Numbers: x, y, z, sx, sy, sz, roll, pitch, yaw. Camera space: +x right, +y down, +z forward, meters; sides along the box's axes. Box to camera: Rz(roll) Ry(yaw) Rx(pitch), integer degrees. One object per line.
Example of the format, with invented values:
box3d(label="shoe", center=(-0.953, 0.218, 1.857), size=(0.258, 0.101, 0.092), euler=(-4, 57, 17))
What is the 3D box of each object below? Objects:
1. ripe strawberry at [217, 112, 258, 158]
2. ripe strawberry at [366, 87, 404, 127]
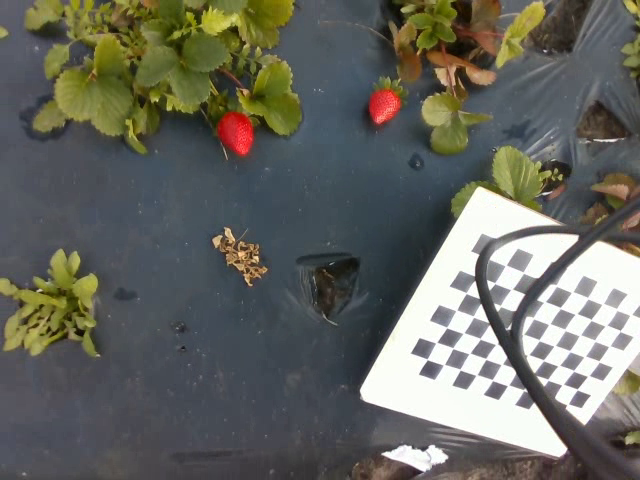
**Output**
box3d(label="ripe strawberry", center=(-0.083, -0.102, 0.623), size=(0.051, 0.050, 0.046), euler=(20, -52, -30))
box3d(label="ripe strawberry", center=(0.068, -0.136, 0.655), size=(0.041, 0.052, 0.044), euler=(-7, -41, 40))
